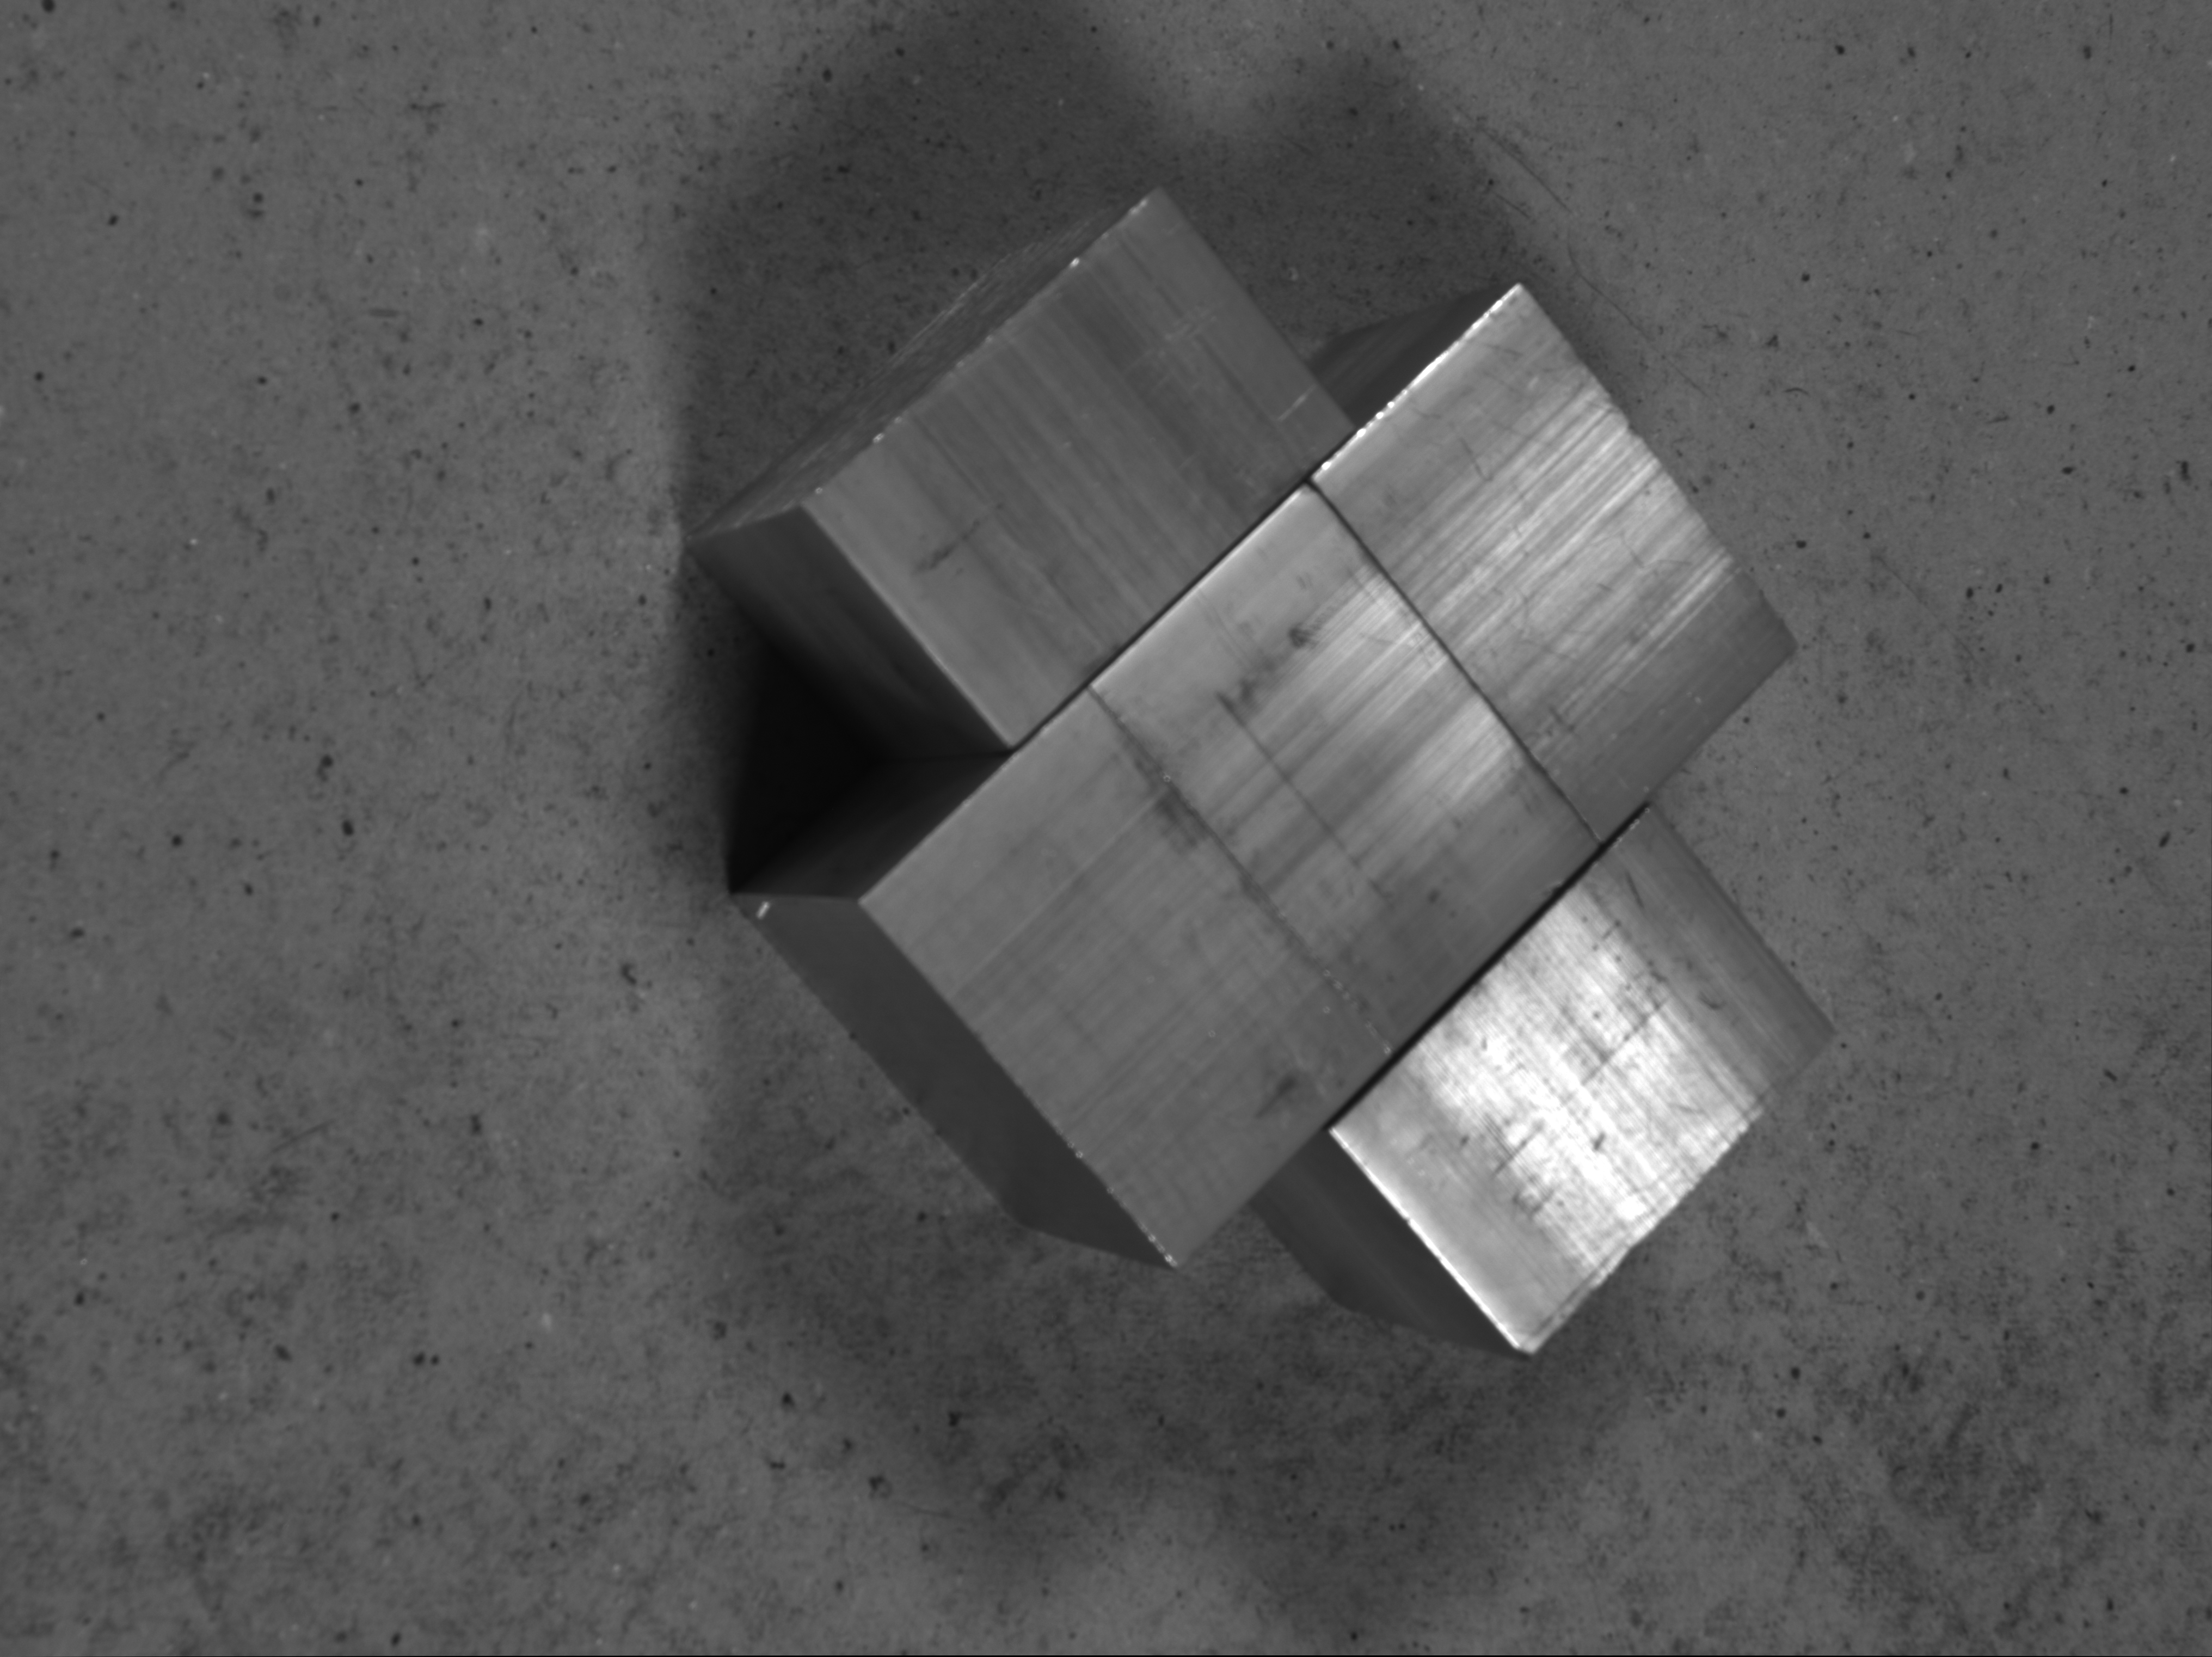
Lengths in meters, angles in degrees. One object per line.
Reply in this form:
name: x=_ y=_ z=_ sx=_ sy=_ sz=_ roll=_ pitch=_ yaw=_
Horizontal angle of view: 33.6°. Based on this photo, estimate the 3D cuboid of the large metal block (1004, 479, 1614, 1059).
large metal block: x=0.027 y=-0.009 z=0.625 sx=0.050 sy=0.080 sz=0.080 roll=-44 pitch=104 yaw=-15

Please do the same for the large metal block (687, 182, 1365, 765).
large metal block: x=-0.016 y=-0.056 z=0.609 sx=0.080 sy=0.080 sz=0.050 roll=-44 pitch=103 yaw=-15

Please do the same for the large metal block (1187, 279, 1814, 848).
large metal block: x=0.063 y=-0.043 z=0.638 sx=0.050 sy=0.080 sz=0.080 roll=-44 pitch=104 yaw=-15

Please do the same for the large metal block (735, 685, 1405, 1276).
large metal block: x=-0.008 y=0.024 z=0.612 sx=0.050 sy=0.080 sz=0.080 roll=-44 pitch=104 yaw=-15

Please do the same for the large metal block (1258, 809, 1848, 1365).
large metal block: x=0.068 y=0.042 z=0.640 sx=0.080 sy=0.080 sz=0.050 roll=-44 pitch=103 yaw=-15
